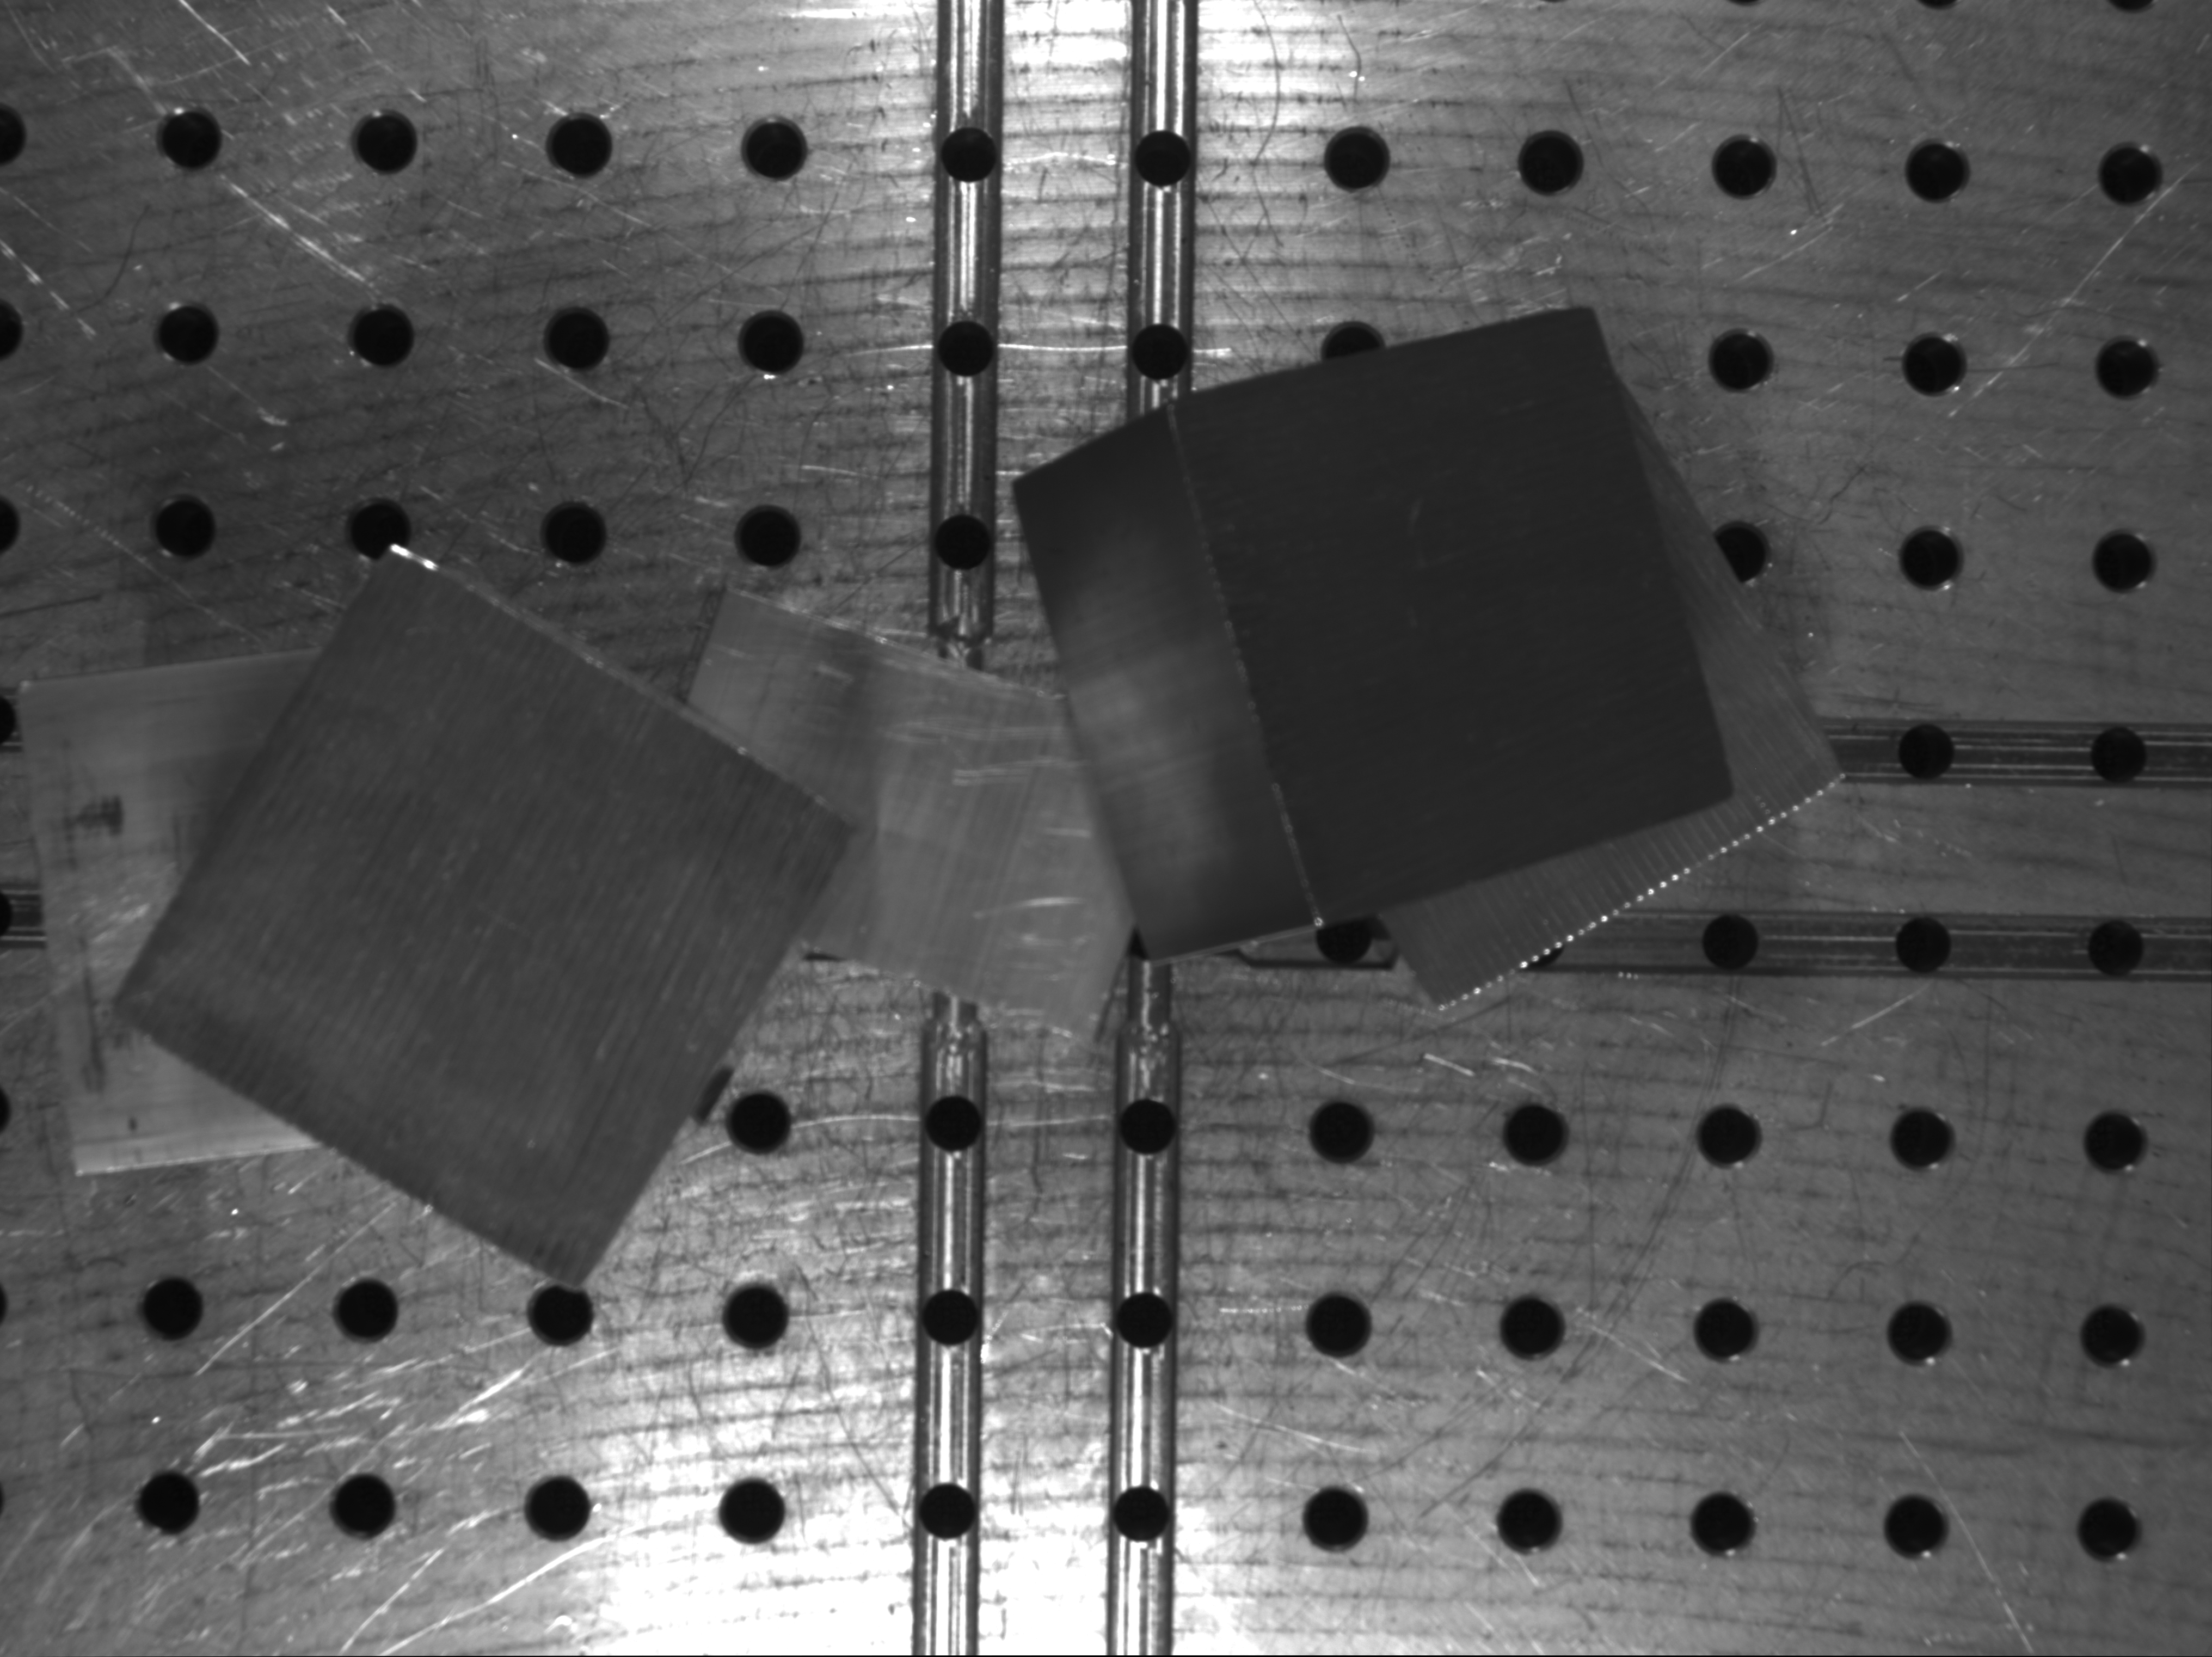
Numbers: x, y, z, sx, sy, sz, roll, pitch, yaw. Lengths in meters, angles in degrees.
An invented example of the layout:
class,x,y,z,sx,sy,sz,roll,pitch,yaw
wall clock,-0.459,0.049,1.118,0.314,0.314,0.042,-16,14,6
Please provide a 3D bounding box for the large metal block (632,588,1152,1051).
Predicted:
class,x,y,z,sx,sy,sz,roll,pitch,yaw
large metal block,-0.029,-0.001,0.619,0.080,0.080,0.050,19,90,0

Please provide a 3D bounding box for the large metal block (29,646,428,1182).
class,x,y,z,sx,sy,sz,roll,pitch,yaw
large metal block,-0.141,0.013,0.618,0.050,0.080,0.080,-6,90,0

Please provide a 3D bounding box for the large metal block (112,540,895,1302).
class,x,y,z,sx,sy,sz,roll,pitch,yaw
large metal block,-0.088,0.014,0.553,0.080,0.050,0.080,31,90,0

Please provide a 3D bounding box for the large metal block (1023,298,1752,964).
class,x,y,z,sx,sy,sz,roll,pitch,yaw
large metal block,0.043,-0.030,0.567,0.080,0.050,0.080,-16,90,-29

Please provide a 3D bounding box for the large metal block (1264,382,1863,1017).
class,x,y,z,sx,sy,sz,roll,pitch,yaw
large metal block,0.072,-0.023,0.636,0.080,0.050,0.080,-30,90,0
